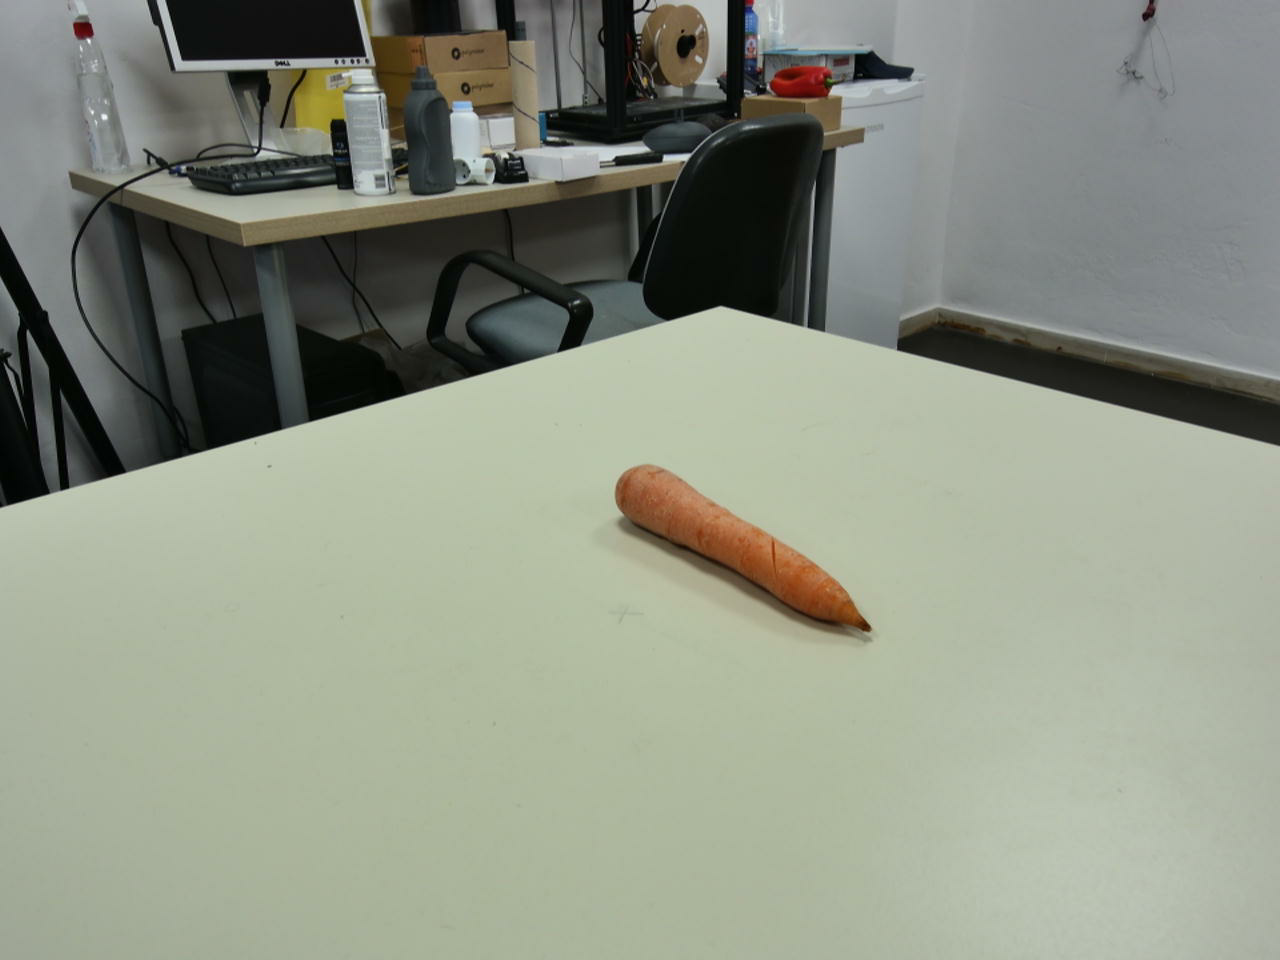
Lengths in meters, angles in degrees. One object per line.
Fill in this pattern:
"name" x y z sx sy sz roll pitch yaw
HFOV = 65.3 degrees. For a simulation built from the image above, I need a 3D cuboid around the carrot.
"carrot" 0.056 0.033 0.579 0.039 0.041 0.196 -19 30 -38
